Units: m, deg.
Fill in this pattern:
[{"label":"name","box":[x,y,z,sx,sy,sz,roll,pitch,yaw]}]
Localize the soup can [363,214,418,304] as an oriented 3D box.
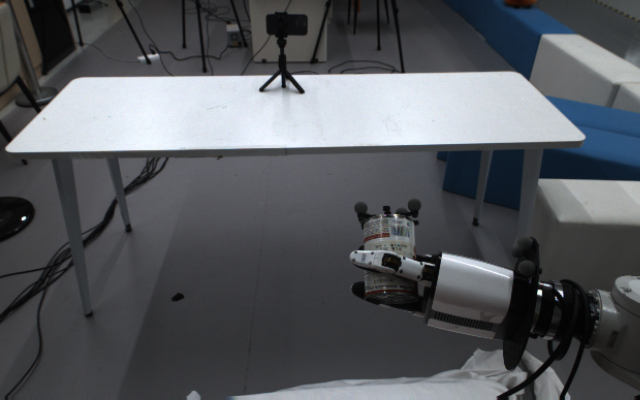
[{"label":"soup can","box":[0.091,0.077,0.617,0.067,0.067,0.101,1,69,-1]}]
